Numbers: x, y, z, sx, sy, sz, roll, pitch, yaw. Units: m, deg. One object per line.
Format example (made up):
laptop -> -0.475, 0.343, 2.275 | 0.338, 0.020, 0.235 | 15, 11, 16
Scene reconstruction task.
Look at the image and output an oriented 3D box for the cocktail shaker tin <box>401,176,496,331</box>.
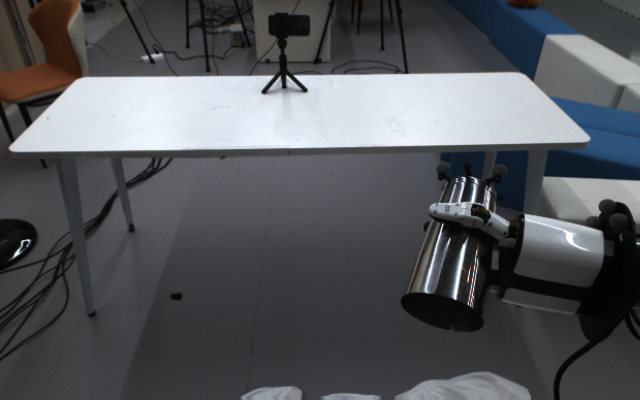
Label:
cocktail shaker tin -> 0.162, 0.055, 0.571 | 0.093, 0.093, 0.170 | 14, 57, 16
